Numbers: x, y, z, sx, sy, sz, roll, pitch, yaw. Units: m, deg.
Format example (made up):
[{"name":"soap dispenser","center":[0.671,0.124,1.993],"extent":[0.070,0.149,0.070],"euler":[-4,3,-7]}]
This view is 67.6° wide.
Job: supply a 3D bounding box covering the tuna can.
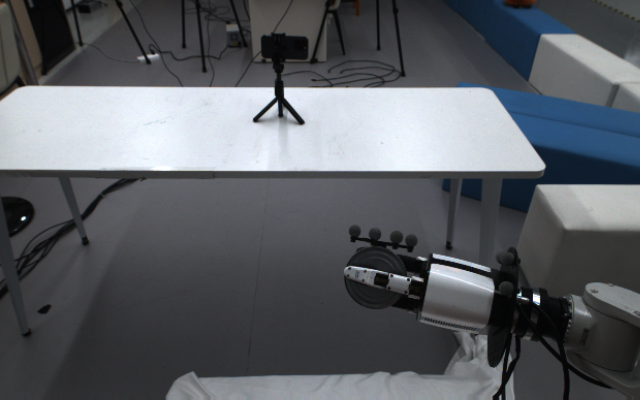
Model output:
[{"name":"tuna can","center":[0.080,0.104,0.671],"extent":[0.085,0.085,0.034],"euler":[11,-7,12]}]
